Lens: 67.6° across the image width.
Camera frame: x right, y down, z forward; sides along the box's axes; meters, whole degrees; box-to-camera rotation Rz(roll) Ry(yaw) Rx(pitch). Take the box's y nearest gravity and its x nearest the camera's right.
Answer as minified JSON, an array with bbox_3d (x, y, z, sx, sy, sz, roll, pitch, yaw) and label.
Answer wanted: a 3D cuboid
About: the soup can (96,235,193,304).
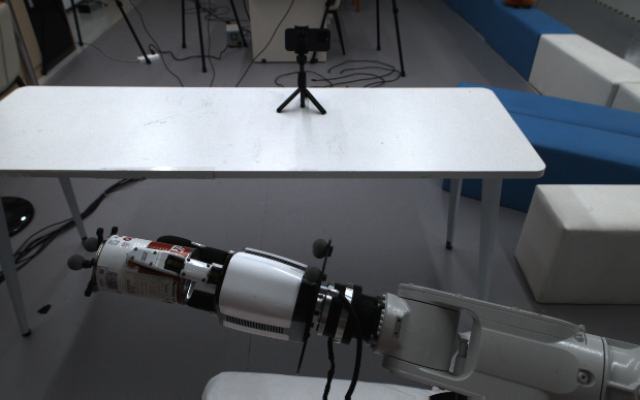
[{"bbox_3d":[-0.198,0.082,0.566,0.101,0.067,0.067,10,35,-1],"label":"soup can"}]
